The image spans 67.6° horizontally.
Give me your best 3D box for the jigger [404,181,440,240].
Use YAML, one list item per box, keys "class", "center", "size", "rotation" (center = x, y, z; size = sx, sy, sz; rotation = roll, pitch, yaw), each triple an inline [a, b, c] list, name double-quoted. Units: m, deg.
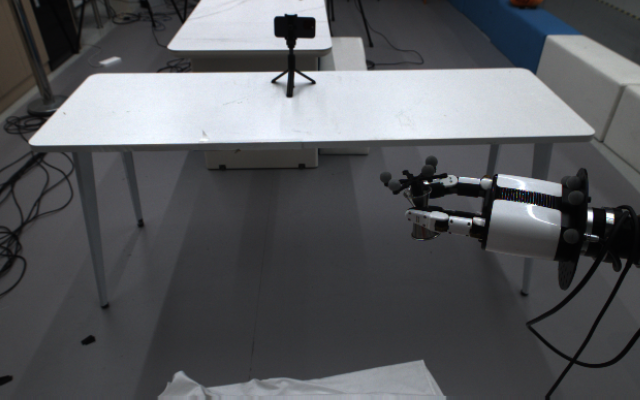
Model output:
- class: "jigger"
  center: [0.146, 0.017, 0.690]
  size: [0.043, 0.071, 0.043]
  rotation: [-14, 21, 6]
